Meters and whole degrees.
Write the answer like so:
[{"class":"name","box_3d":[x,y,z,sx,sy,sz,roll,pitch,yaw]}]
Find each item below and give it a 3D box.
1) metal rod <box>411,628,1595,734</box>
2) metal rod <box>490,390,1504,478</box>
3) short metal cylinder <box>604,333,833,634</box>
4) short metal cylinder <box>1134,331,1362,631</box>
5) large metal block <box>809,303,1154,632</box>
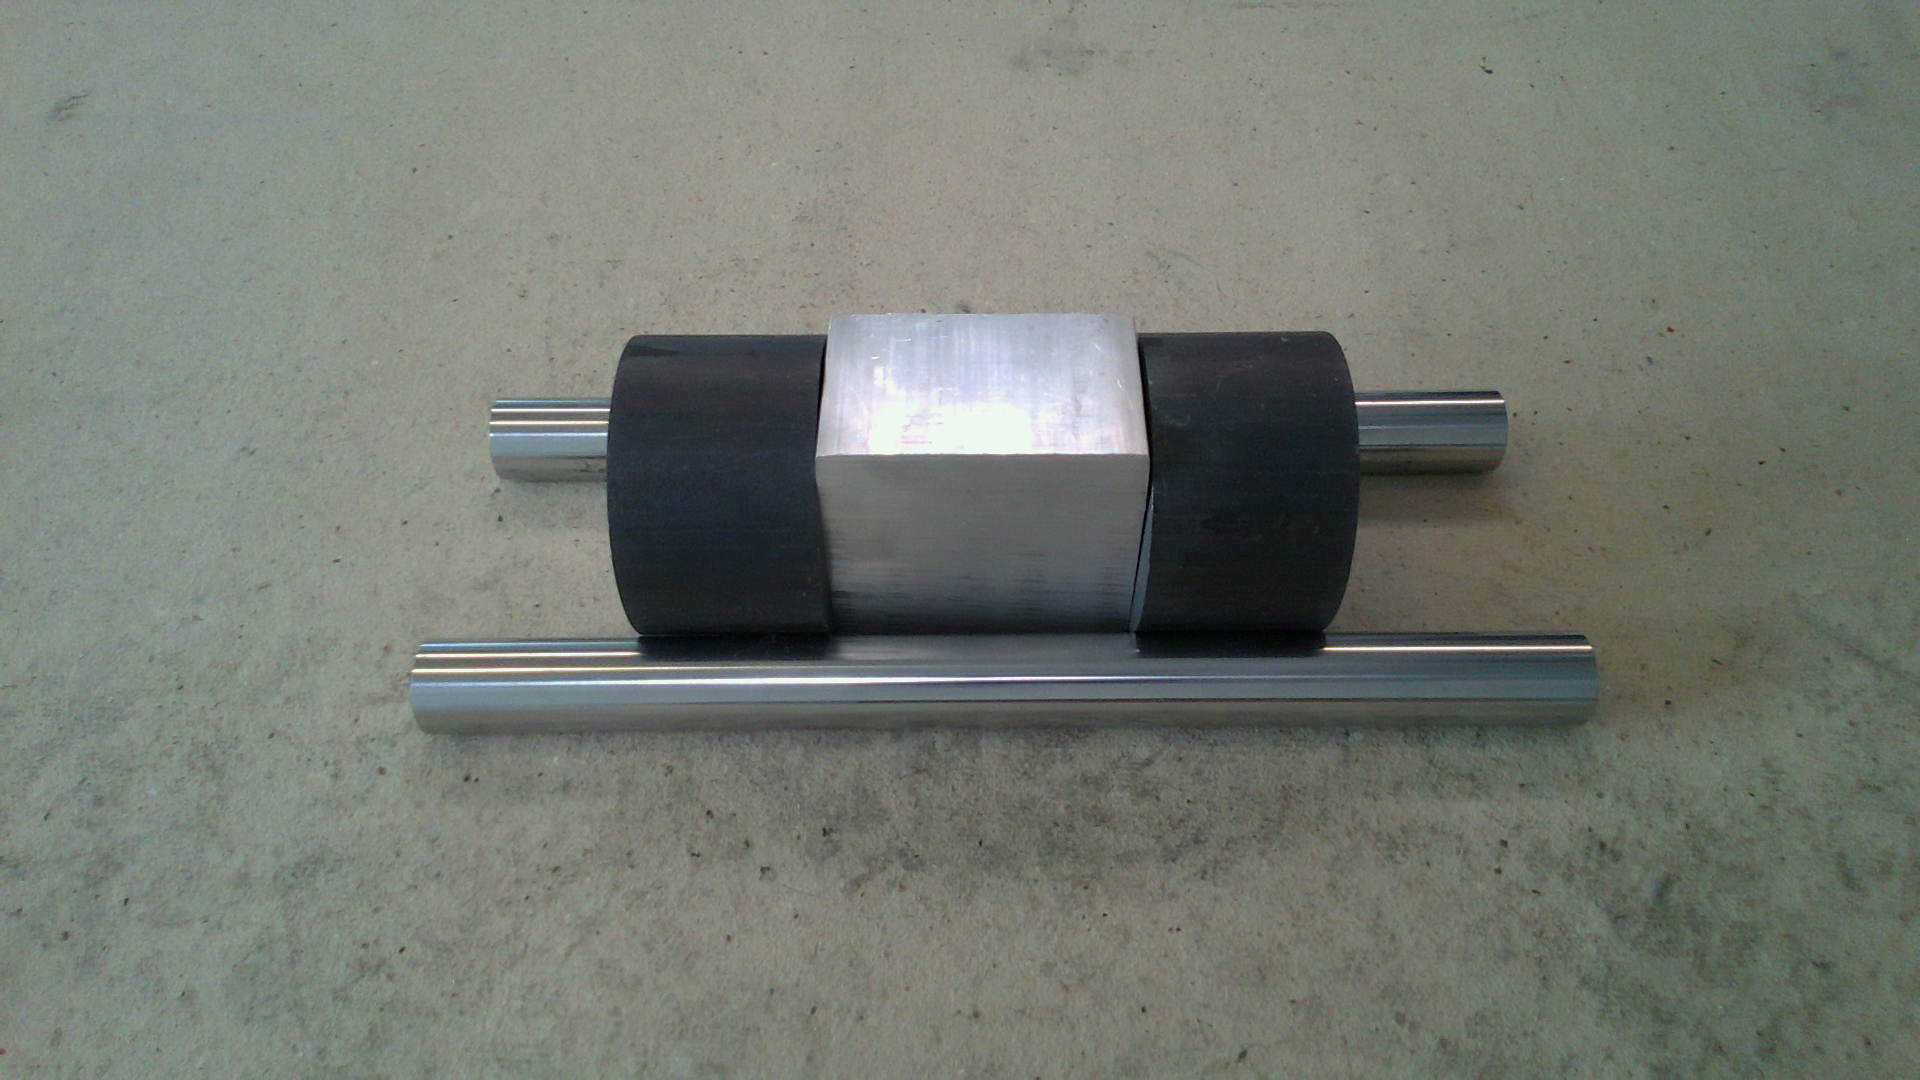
[{"class":"metal rod","box_3d":[0.011,0.037,0.361,0.300,0.025,0.025,0,50,0]},{"class":"metal rod","box_3d":[0.011,-0.032,0.419,0.300,0.025,0.025,0,50,0]},{"class":"short metal cylinder","box_3d":[-0.060,-0.015,0.368,0.050,0.080,0.080,-1,50,0]},{"class":"short metal cylinder","box_3d":[0.071,-0.016,0.369,0.050,0.080,0.080,-1,50,0]},{"class":"large metal block","box_3d":[0.005,-0.016,0.365,0.080,0.080,0.050,0,50,0]}]
